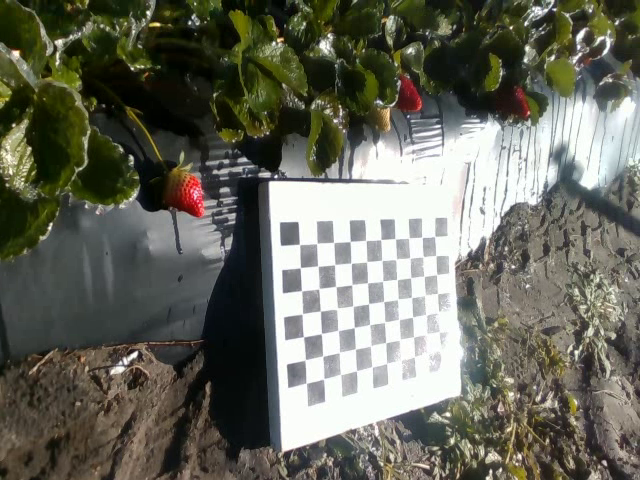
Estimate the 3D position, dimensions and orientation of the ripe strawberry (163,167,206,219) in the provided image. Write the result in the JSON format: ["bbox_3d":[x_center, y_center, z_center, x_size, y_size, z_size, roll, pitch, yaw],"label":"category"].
[{"bbox_3d":[-0.117,-0.039,0.535,0.039,0.053,0.040,-30,1,-35],"label":"ripe strawberry"}]
